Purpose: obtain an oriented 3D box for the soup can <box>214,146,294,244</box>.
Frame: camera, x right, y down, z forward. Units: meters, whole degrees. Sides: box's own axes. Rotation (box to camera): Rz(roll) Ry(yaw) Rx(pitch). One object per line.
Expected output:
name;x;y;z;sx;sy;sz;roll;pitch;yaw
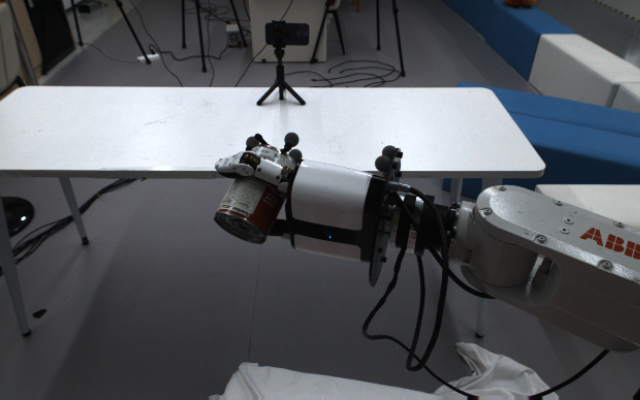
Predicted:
soup can;-0.074;-0.008;0.584;0.067;0.067;0.101;15;63;18
